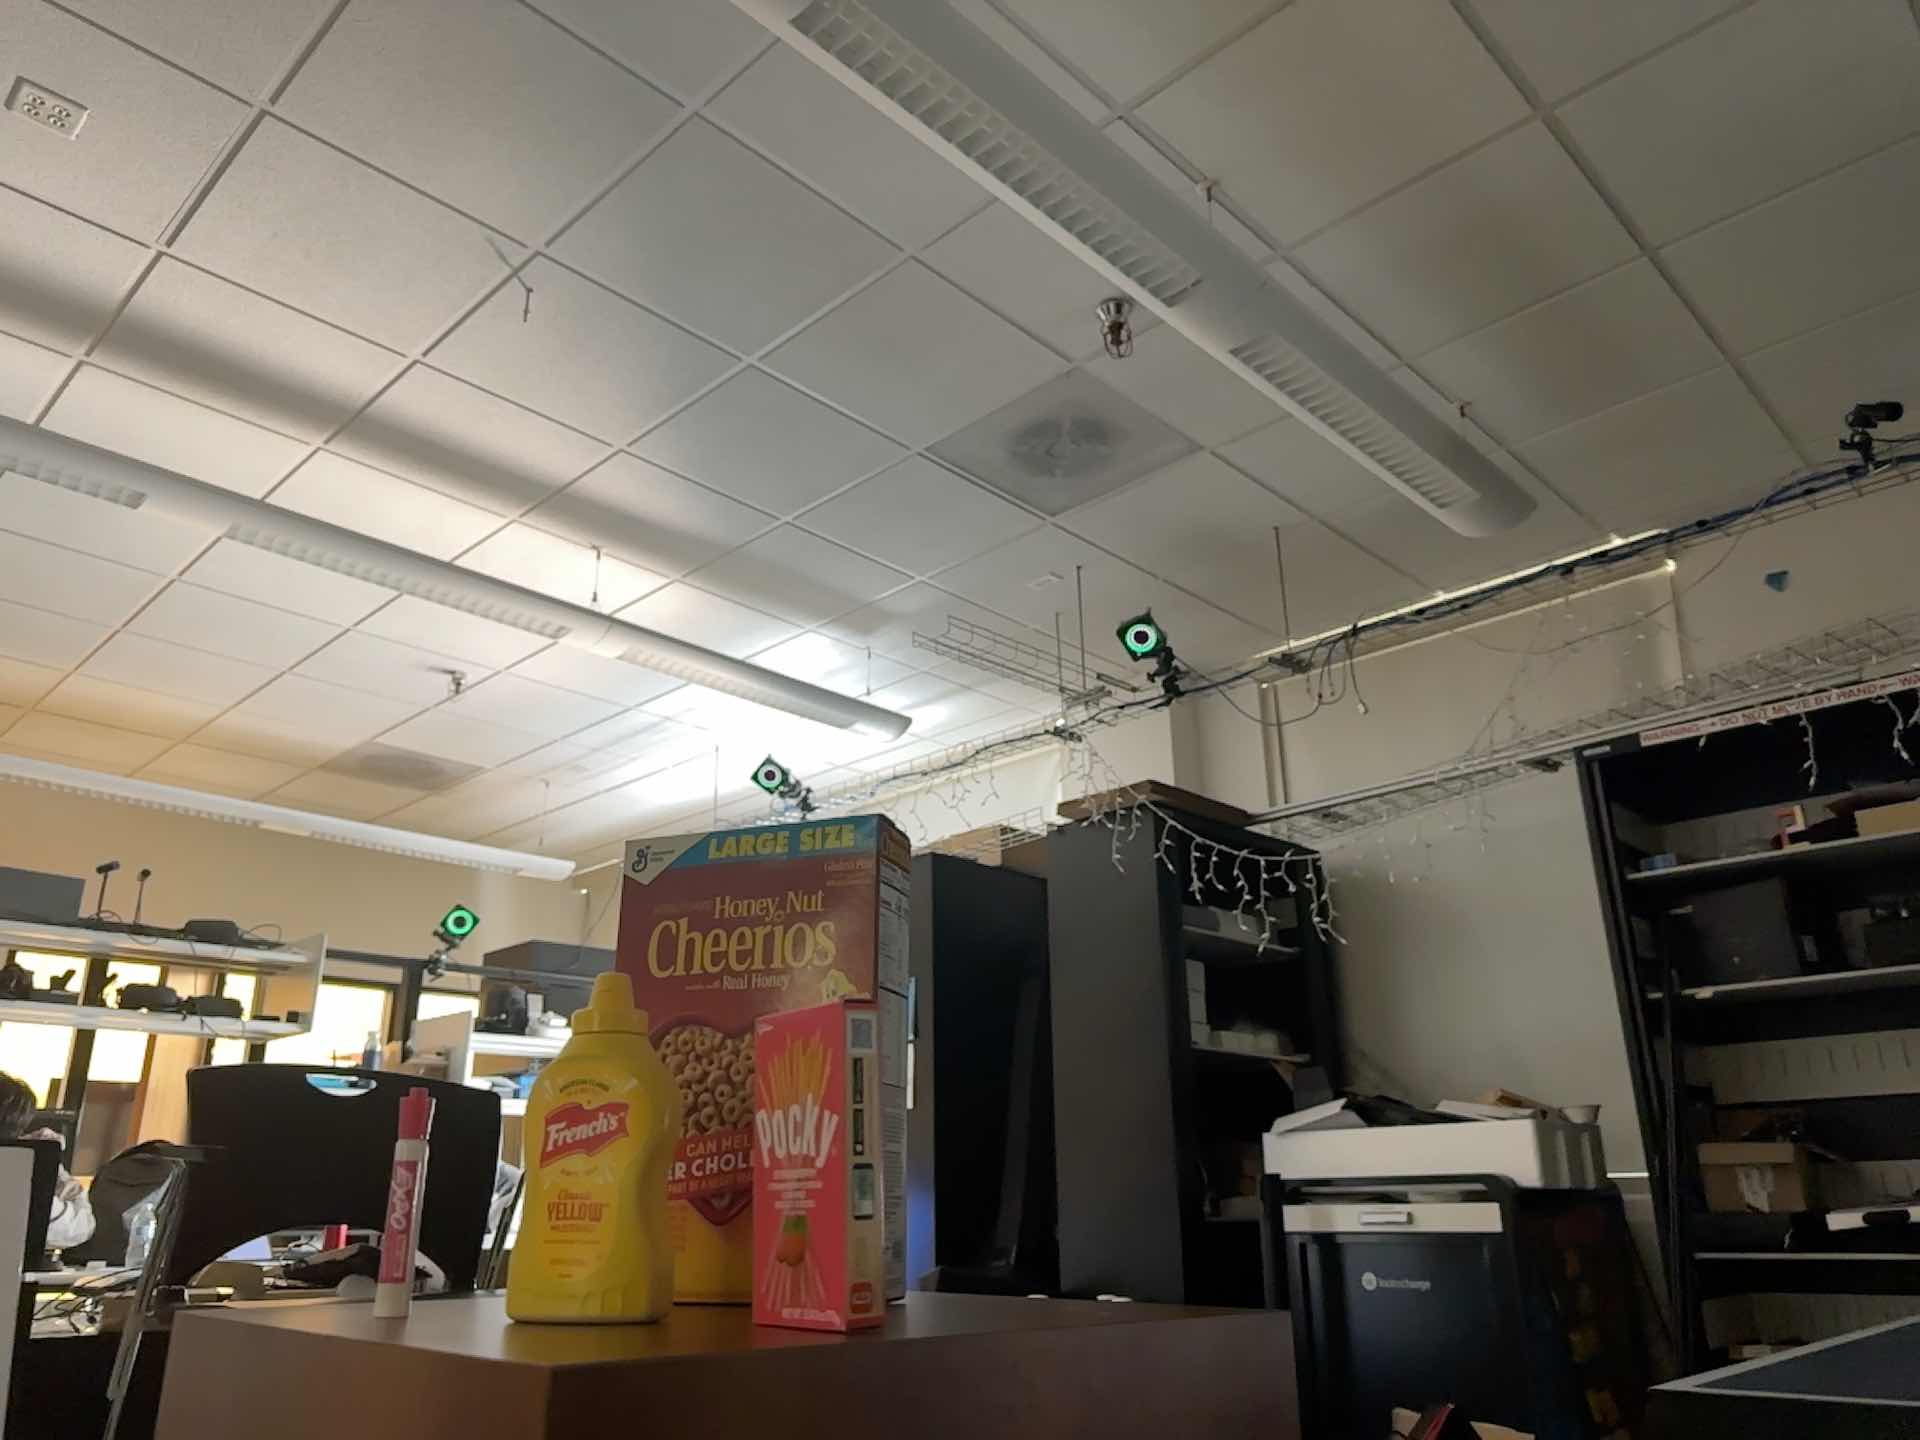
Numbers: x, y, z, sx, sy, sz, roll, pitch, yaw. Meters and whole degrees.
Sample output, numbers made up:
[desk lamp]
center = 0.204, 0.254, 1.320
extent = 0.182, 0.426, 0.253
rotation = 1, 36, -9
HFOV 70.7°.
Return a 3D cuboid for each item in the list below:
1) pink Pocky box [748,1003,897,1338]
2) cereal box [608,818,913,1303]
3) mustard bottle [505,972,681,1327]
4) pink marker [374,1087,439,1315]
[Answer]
[pink Pocky box]
center = -0.070, 0.225, 0.682
extent = 0.084, 0.154, 0.029
rotation = -18, -25, 40
[cereal box]
center = -0.139, 0.226, 0.912
extent = 0.195, 0.296, 0.065
rotation = -5, -19, 15
[mustard bottle]
center = -0.198, 0.230, 0.740
extent = 0.092, 0.184, 0.054
rotation = -8, -20, 19
[pink marker]
center = -0.313, 0.271, 0.768
extent = 0.020, 0.121, 0.020
rotation = 1, -19, 0
